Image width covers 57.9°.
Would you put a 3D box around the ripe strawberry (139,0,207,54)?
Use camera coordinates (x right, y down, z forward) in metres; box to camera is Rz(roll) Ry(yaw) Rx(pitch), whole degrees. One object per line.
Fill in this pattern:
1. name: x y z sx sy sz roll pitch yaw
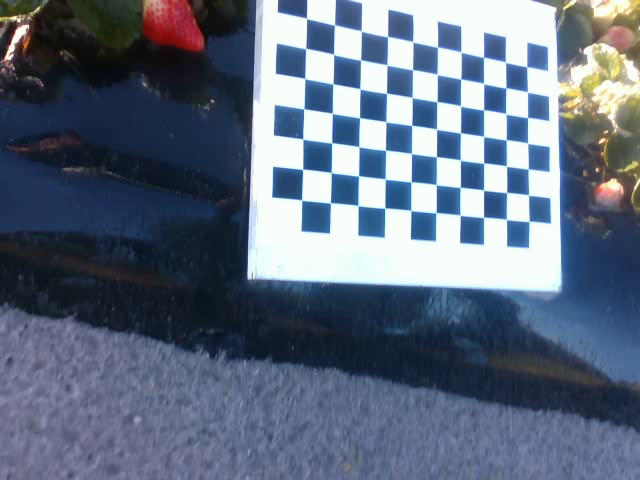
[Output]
1. ripe strawberry: -0.118 -0.176 0.465 0.065 0.040 0.040 45 -21 -11
